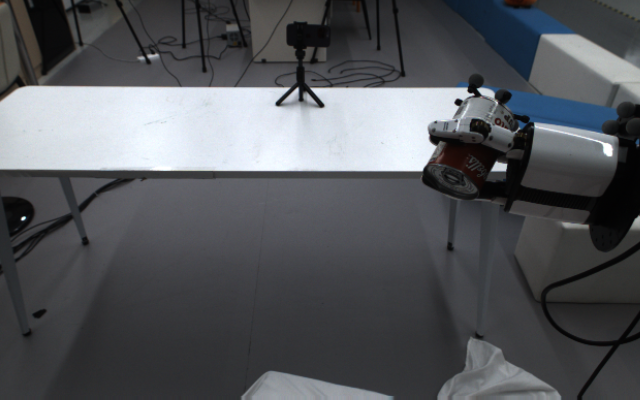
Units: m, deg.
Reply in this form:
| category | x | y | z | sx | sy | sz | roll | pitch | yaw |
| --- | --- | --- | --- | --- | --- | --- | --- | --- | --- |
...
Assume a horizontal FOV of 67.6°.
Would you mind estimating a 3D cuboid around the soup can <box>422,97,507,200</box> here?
| category | x | y | z | sx | sy | sz | roll | pitch | yaw |
| --- | --- | --- | --- | --- | --- | --- | --- | --- | --- |
| soup can | 0.174 | -0.061 | 0.556 | 0.067 | 0.067 | 0.101 | 23 | 73 | 28 |
